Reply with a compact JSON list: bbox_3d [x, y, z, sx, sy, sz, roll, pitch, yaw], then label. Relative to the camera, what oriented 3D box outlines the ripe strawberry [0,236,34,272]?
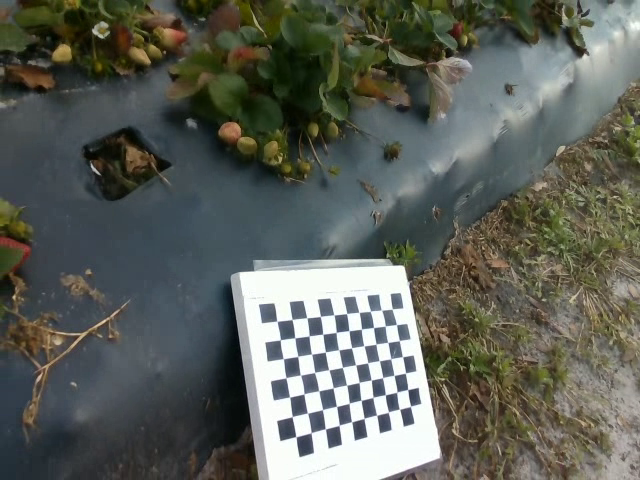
[{"bbox_3d":[-0.319,0.014,0.642,0.046,0.043,0.047,-11,-13,-11],"label":"ripe strawberry"}]
